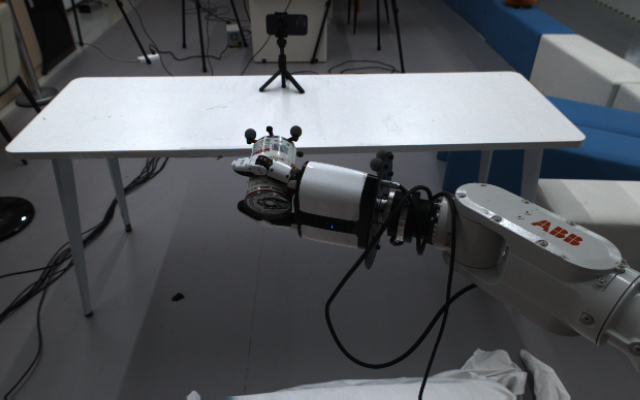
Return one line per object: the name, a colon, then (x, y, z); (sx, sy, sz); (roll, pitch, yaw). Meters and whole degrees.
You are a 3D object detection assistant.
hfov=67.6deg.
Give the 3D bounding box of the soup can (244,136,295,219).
soup can: (-0.069, -0.033, 0.688); (0.067, 0.067, 0.101); (3, 56, 1)
